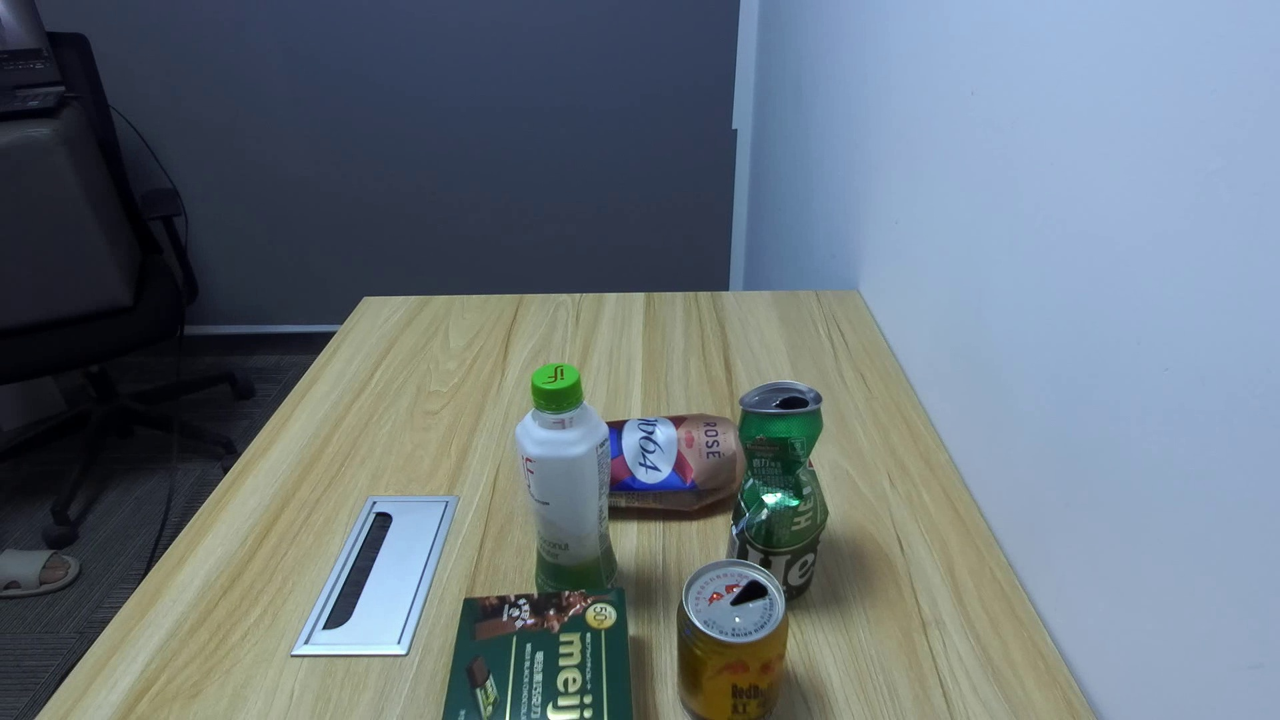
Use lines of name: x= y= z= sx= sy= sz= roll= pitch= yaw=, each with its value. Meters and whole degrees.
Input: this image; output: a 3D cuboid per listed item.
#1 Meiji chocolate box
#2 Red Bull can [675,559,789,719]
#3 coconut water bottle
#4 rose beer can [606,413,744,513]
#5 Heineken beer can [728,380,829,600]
Meiji chocolate box: x=-0.059 y=0.202 z=0.434 sx=0.109 sy=0.056 sz=0.109 roll=-3 pitch=31 yaw=-4
Red Bull can: x=0.056 y=0.175 z=0.432 sx=0.069 sy=0.092 sz=0.069 roll=-1 pitch=32 yaw=1
coconut water bottle: x=-0.049 y=0.090 z=0.485 sx=0.063 sy=0.189 sz=0.063 roll=-1 pitch=31 yaw=1
rose beer can: x=0.008 y=0.086 z=0.607 sx=0.168 sy=0.069 sz=0.069 roll=-1 pitch=13 yaw=-10
Heineken beer can: x=0.098 y=0.097 z=0.498 sx=0.067 sy=0.159 sz=0.078 roll=-11 pitch=25 yaw=-24
